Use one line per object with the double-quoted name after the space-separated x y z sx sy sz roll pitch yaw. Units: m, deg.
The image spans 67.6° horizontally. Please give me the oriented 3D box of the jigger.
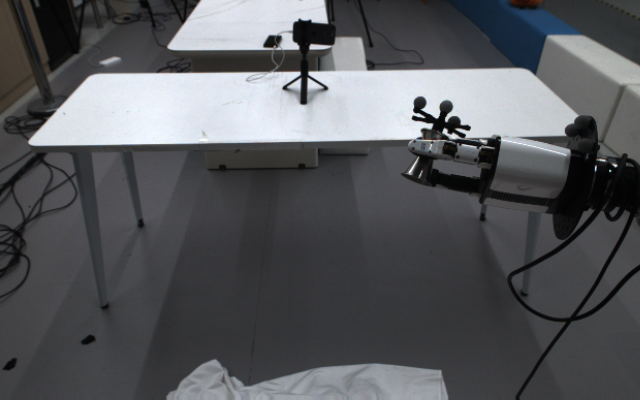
0.141 -0.060 0.653 0.043 0.071 0.043 25 -3 1 "jigger"
